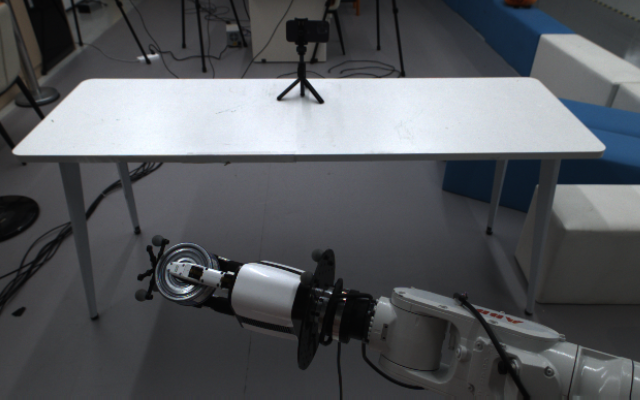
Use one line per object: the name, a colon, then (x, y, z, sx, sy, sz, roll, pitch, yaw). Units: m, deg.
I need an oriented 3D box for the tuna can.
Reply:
tuna can: (-0.183, 0.107, 0.676, 0.085, 0.034, 0.085, -2, 70, 6)
